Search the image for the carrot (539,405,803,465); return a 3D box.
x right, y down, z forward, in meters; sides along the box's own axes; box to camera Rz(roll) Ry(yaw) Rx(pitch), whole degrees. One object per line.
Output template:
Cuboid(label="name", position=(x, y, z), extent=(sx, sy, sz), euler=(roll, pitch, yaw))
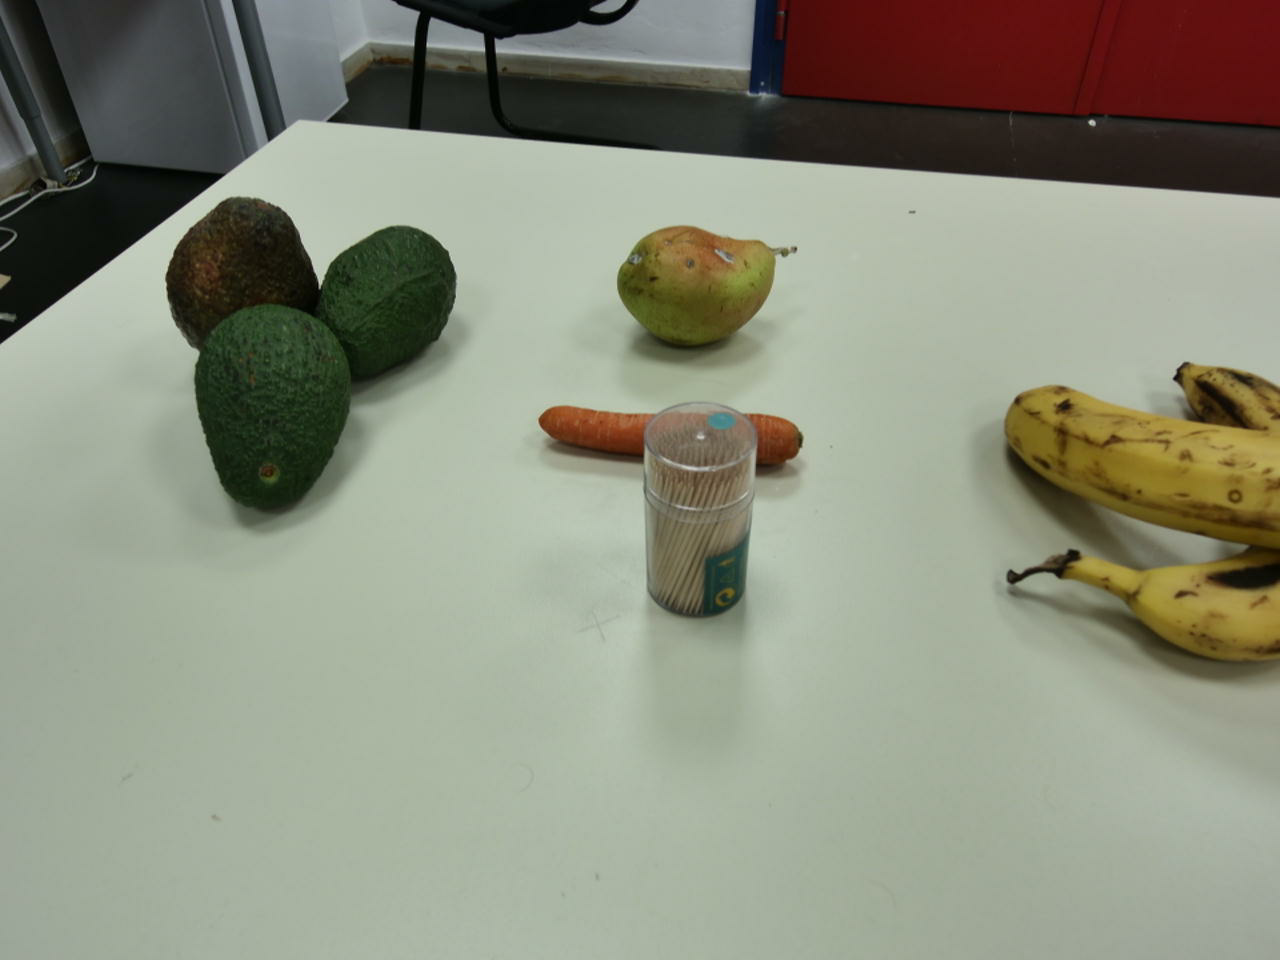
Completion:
Cuboid(label="carrot", position=(0.013, -0.023, 0.459), extent=(0.122, 0.023, 0.024), euler=(7, 39, 9))
